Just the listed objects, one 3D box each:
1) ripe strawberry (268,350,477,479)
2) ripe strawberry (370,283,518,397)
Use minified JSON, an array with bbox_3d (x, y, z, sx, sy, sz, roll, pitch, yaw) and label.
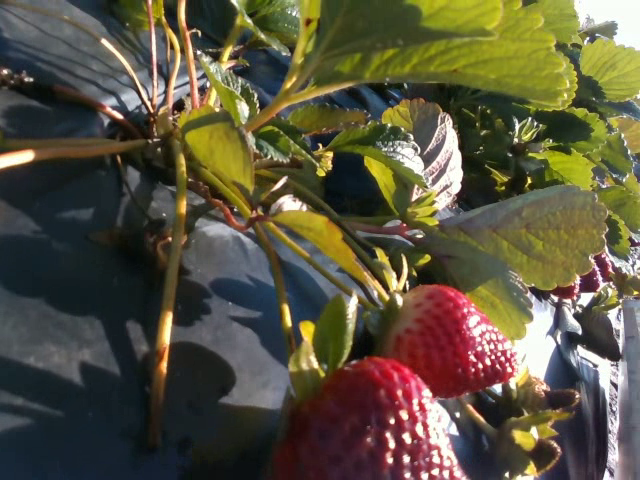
[{"bbox_3d":[0.016,0.050,0.122,0.050,0.045,0.050,27,3,26],"label":"ripe strawberry"},{"bbox_3d":[0.044,0.035,0.188,0.049,0.042,0.039,19,-31,5],"label":"ripe strawberry"}]
